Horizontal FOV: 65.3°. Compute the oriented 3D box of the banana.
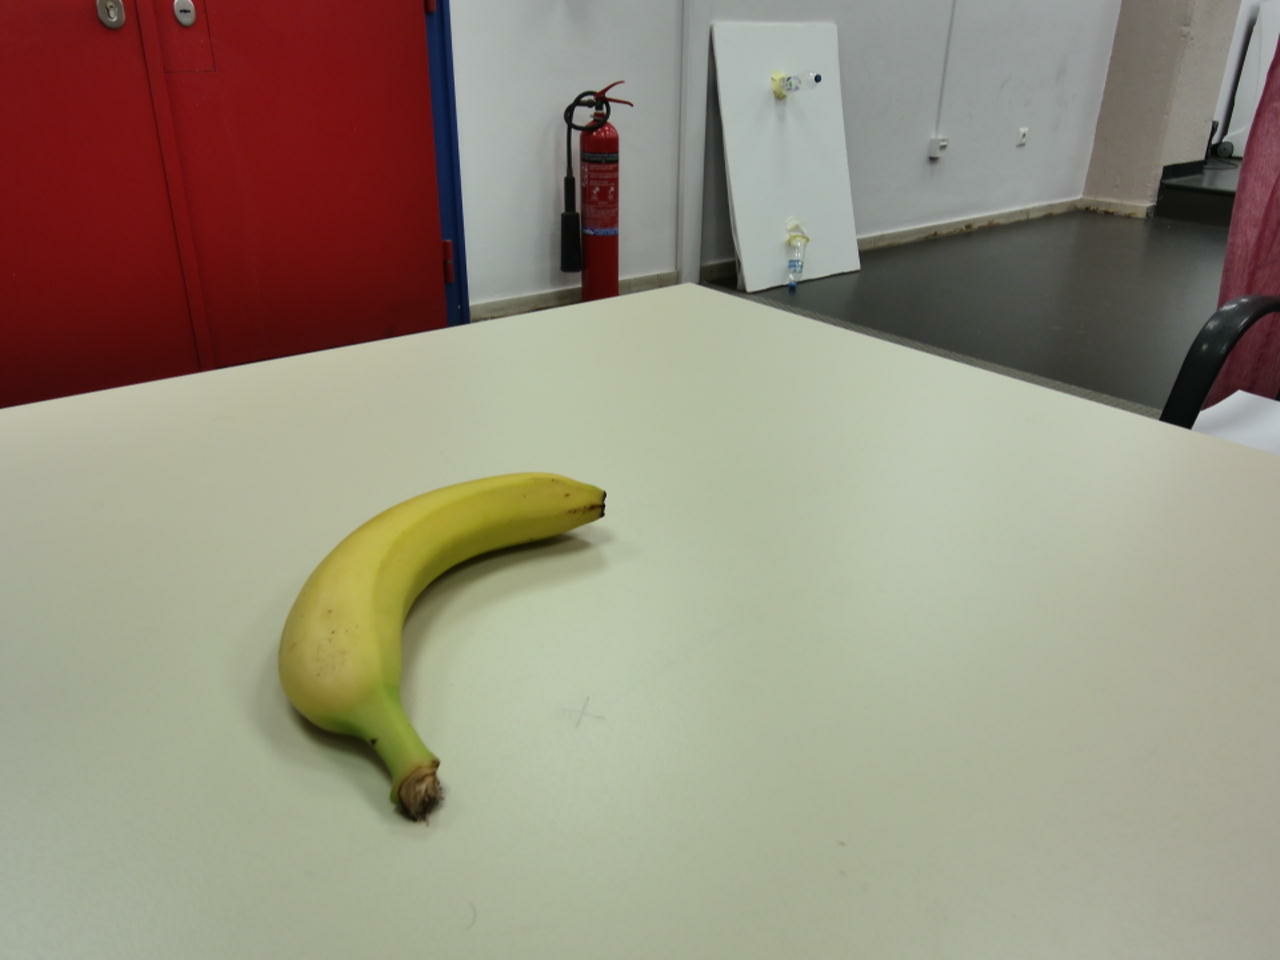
[{"bbox_3d":[-0.082,0.043,0.391,0.094,0.041,0.196,7,24,13],"label":"banana"}]
